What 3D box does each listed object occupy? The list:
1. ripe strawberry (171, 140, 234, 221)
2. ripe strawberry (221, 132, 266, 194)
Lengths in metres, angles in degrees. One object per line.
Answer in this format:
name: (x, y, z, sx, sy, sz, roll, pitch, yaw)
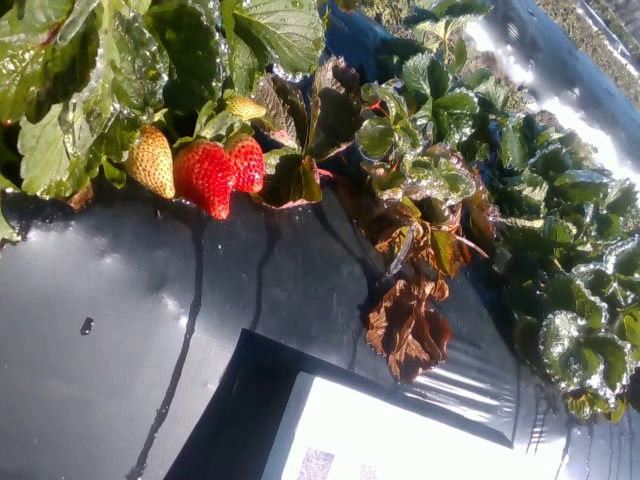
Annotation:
ripe strawberry: (-0.063, -0.029, 0.353, 0.036, 0.051, 0.040, -18, -25, -35)
ripe strawberry: (-0.047, -0.046, 0.386, 0.036, 0.041, 0.030, -45, 21, -26)
